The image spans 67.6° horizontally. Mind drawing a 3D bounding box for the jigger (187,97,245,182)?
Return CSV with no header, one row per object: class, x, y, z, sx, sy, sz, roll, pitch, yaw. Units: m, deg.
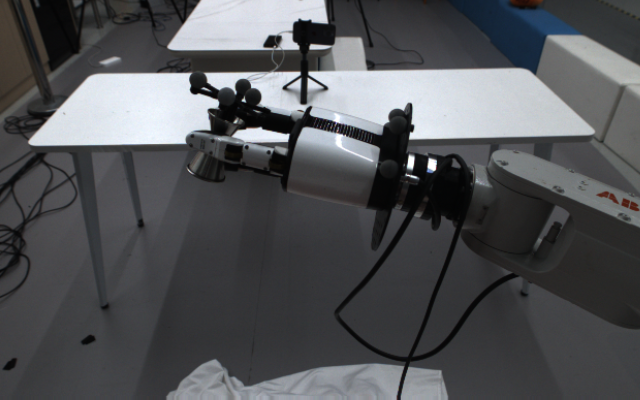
jigger,-0.111,-0.058,0.514,0.043,0.071,0.043,23,19,-8
